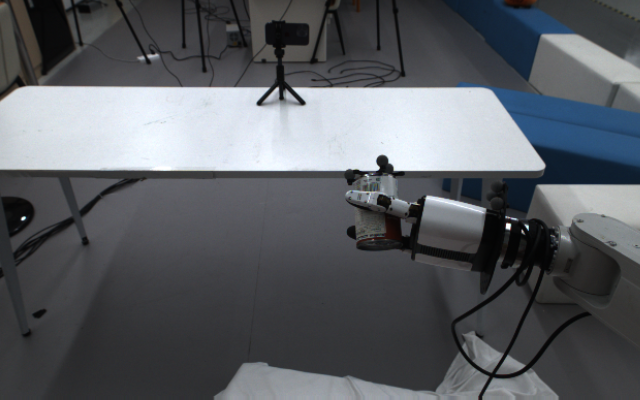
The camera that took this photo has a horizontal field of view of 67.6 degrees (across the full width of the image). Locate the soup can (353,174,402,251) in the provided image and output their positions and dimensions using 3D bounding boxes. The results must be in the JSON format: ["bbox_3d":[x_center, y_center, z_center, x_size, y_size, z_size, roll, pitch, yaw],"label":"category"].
[{"bbox_3d":[0.087,0.018,0.710,0.067,0.067,0.101,-1,71,-5],"label":"soup can"}]
